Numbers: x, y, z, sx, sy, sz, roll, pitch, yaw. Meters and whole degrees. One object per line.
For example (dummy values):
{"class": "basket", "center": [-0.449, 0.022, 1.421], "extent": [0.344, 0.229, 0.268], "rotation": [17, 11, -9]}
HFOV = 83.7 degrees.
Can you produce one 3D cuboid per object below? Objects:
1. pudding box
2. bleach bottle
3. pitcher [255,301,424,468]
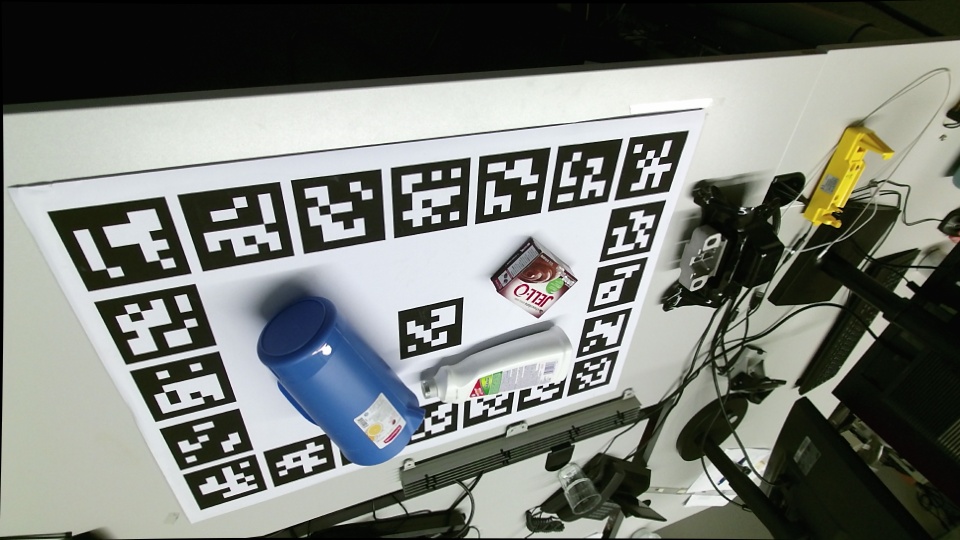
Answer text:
{"class": "pudding box", "center": [0.088, 0.029, 0.827], "extent": [0.090, 0.038, 0.114], "rotation": [-42, 130, 15]}
{"class": "bleach bottle", "center": [0.029, 0.186, 0.904], "extent": [0.252, 0.067, 0.102], "rotation": [-14, 124, -16]}
{"class": "pitcher", "center": [-0.203, 0.160, 0.744], "extent": [0.189, 0.133, 0.243], "rotation": [-9, 131, 23]}
